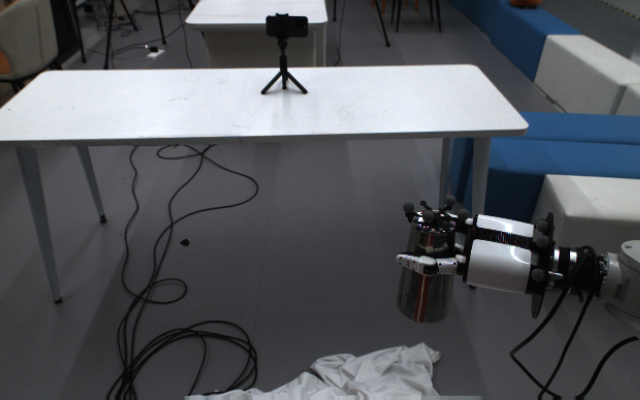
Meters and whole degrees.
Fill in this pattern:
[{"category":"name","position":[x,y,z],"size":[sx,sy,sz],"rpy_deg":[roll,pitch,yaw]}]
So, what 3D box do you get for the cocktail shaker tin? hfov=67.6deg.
[{"category":"cocktail shaker tin","position":[0.179,0.100,0.782],"size":[0.093,0.170,0.093],"rpy_deg":[-1,32,1]}]
